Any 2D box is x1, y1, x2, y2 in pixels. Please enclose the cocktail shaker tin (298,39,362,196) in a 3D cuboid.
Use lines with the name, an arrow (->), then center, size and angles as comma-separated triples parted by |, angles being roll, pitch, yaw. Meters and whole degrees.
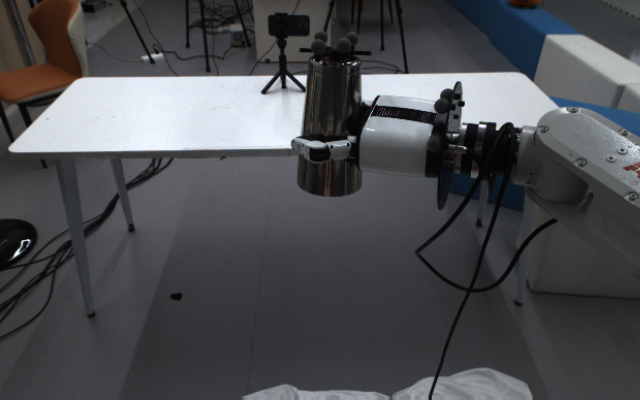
cocktail shaker tin -> 0.017, -0.102, 0.641 | 0.093, 0.170, 0.093 | 2, 28, -1
